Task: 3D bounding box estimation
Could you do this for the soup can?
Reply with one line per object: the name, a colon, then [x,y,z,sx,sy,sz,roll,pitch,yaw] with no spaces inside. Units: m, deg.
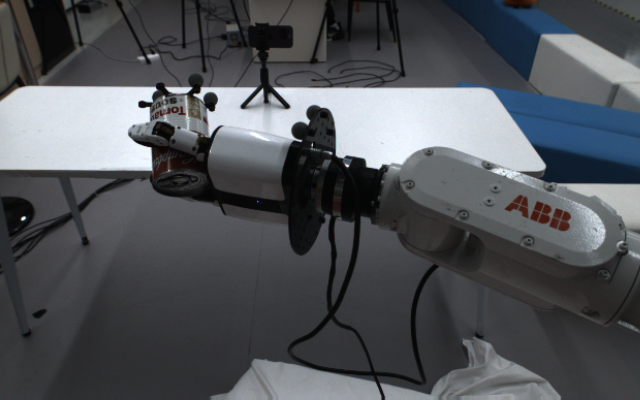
soup can: [-0.160,-0.062,0.561,0.067,0.067,0.101,-6,68,-12]
